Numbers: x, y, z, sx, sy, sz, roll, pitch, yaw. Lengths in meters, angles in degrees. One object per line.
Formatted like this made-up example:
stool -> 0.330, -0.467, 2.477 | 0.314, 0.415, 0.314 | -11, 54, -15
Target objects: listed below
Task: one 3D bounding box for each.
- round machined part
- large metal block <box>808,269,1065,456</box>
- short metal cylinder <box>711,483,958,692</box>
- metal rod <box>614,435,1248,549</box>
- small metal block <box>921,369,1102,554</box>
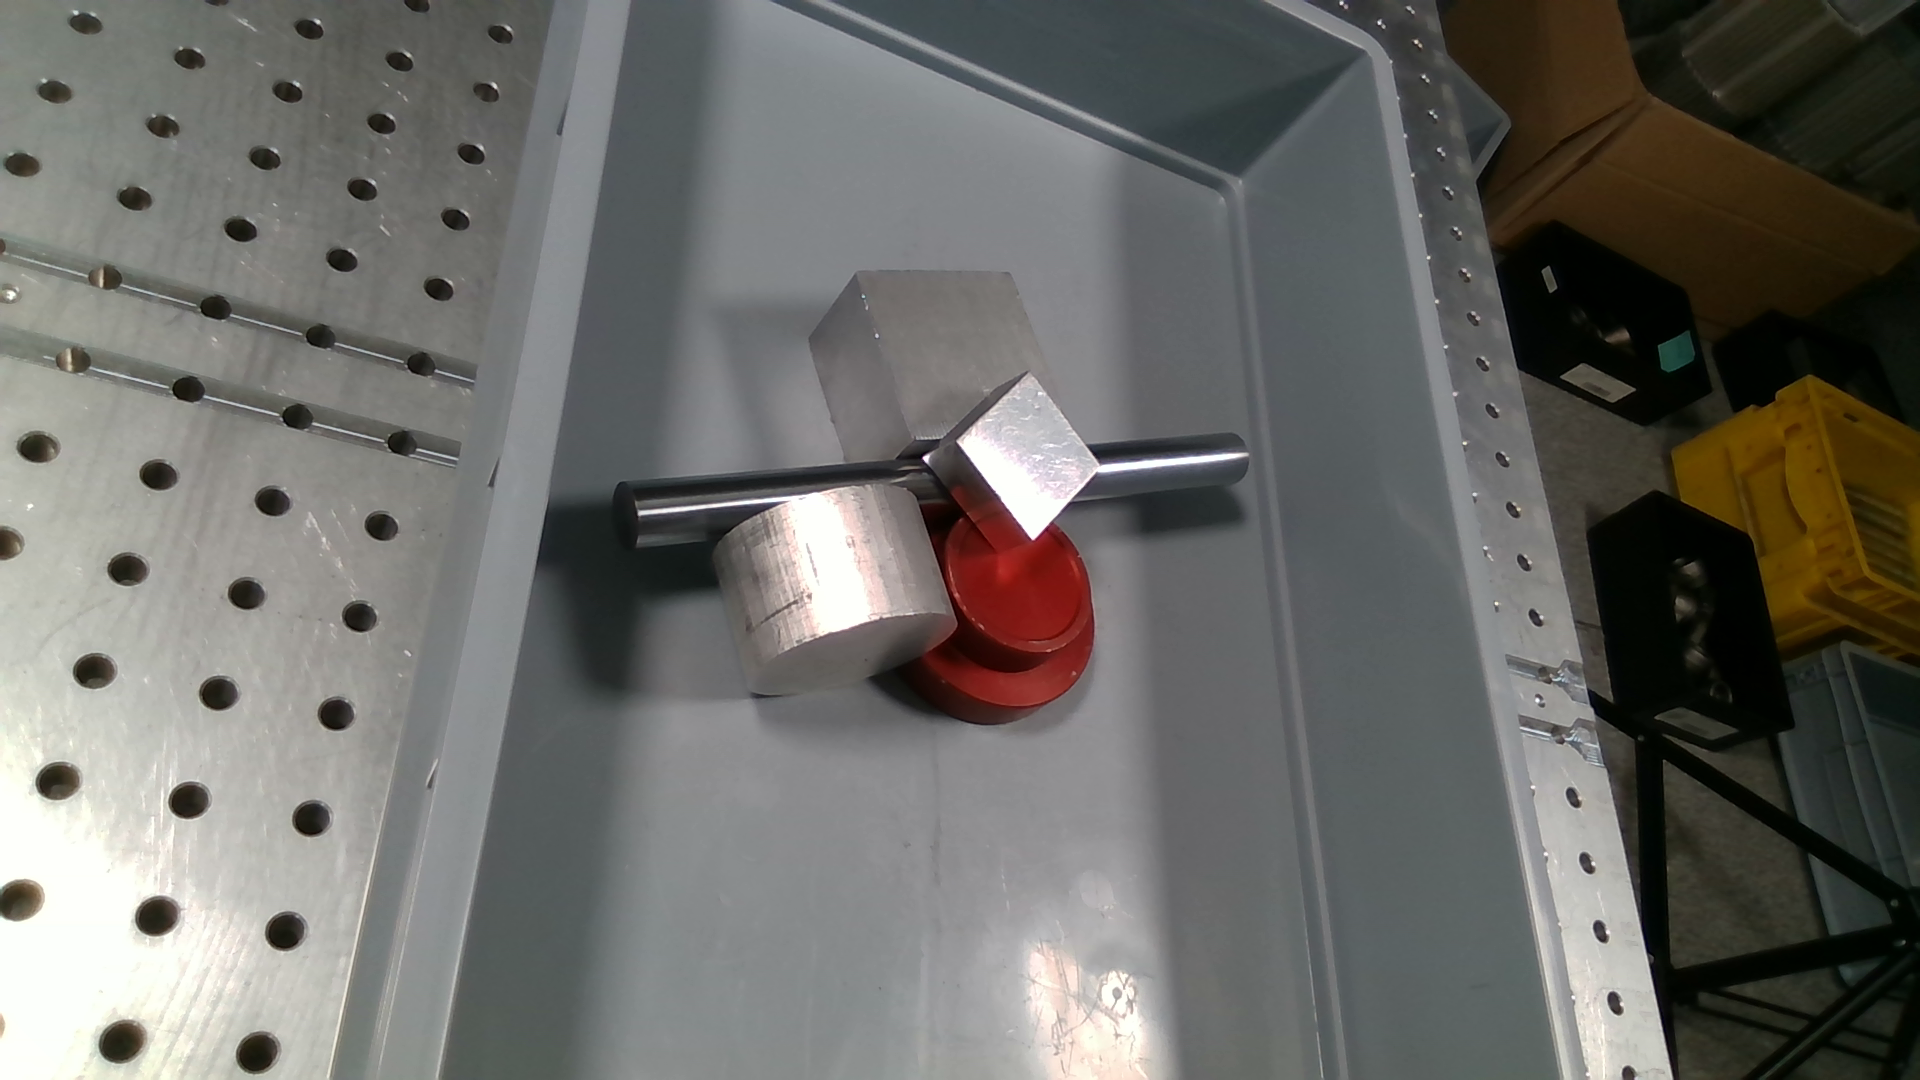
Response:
round machined part -> 0.015, 0.023, 0.570 | 0.098, 0.042, 0.098 | 14, 59, -25
large metal block -> -0.010, -0.069, 0.597 | 0.080, 0.050, 0.080 | -7, 69, -34
short metal cylinder -> -0.047, 0.019, 0.510 | 0.080, 0.080, 0.050 | -7, 69, -34
metal rod -> 0.005, -0.024, 0.574 | 0.300, 0.025, 0.025 | -7, 69, -34
small metal block -> 0.021, -0.031, 0.552 | 0.050, 0.025, 0.050 | 52, 57, -12
